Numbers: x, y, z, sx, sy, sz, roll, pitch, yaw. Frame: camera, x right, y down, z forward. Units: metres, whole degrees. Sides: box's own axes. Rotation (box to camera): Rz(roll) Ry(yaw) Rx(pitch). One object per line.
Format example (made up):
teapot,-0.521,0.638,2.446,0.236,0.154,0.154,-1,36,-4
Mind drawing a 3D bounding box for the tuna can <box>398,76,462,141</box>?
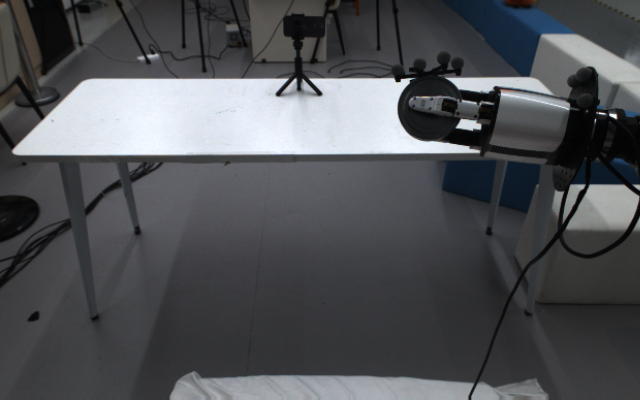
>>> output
tuna can,0.151,-0.124,0.659,0.085,0.085,0.034,10,2,12
